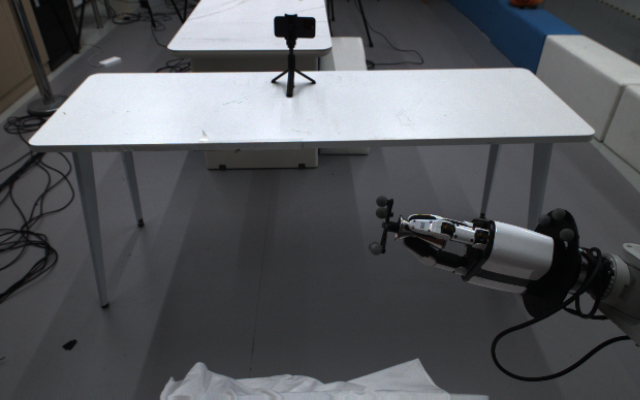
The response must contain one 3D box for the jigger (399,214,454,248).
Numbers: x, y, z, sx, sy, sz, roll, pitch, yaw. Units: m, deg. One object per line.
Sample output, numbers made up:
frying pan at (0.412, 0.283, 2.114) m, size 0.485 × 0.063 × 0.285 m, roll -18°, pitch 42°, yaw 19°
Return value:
jigger at (0.153, 0.043, 0.701) m, size 0.071 × 0.043 × 0.043 m, roll 11°, pitch 35°, yaw 2°
